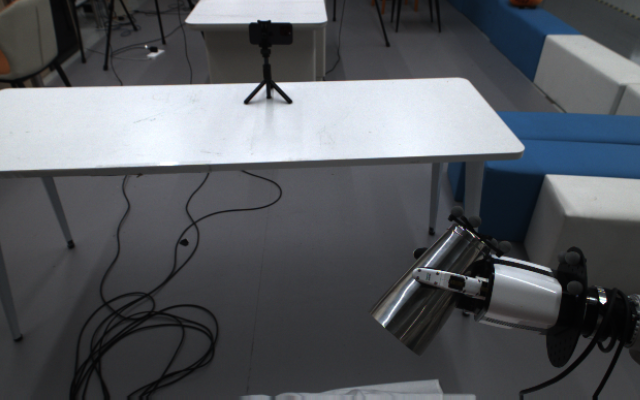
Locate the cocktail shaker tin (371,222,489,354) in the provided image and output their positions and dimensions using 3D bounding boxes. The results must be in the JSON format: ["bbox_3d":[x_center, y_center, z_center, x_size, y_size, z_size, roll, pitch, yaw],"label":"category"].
[{"bbox_3d":[0.157,0.115,0.669,0.170,0.093,0.093,-48,49,-3],"label":"cocktail shaker tin"}]
